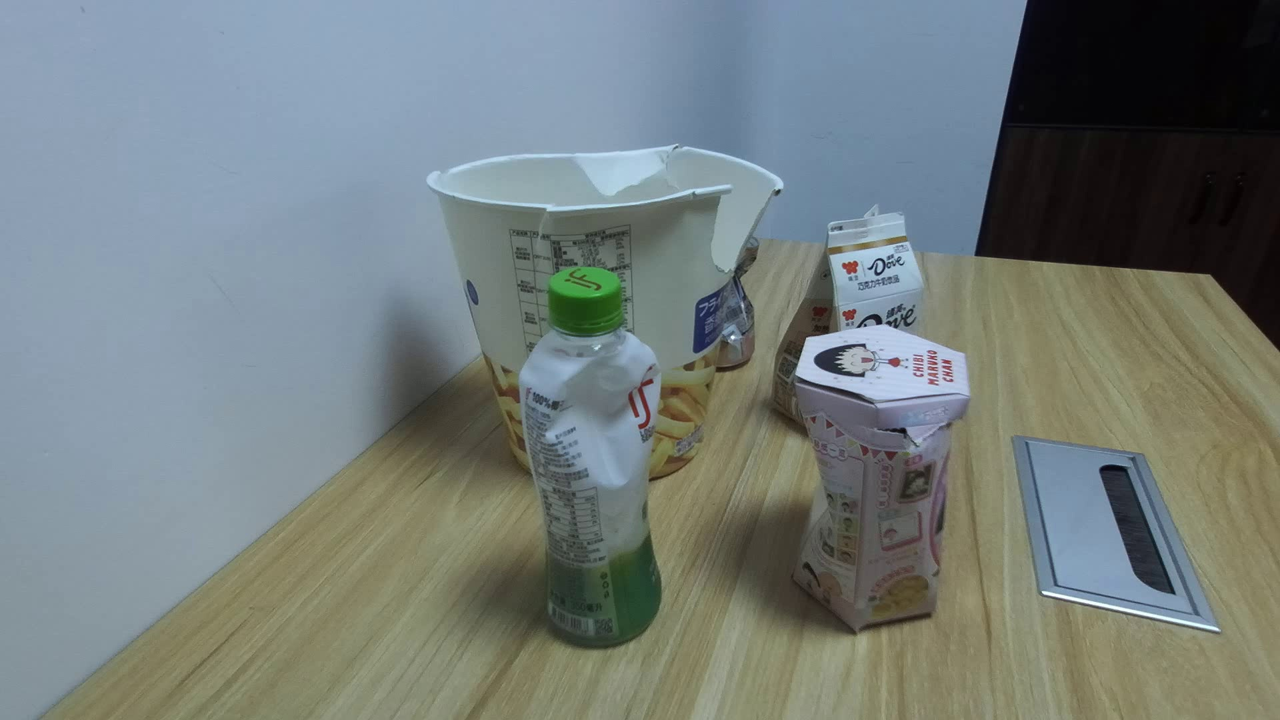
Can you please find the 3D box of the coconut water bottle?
[{"bbox_3d":[-0.021,0.048,0.340,0.069,0.187,0.069,-1,24,1],"label":"coconut water bottle"}]

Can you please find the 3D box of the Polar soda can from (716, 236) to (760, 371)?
[{"bbox_3d":[0.072,-0.052,0.613,0.070,0.114,0.074,-7,29,-22],"label":"Polar soda can"}]

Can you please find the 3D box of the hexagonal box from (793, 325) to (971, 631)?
[{"bbox_3d":[0.119,0.061,0.368,0.091,0.134,0.089,-17,29,-25],"label":"hexagonal box"}]

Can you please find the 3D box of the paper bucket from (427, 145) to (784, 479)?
[{"bbox_3d":[-0.023,-0.033,0.485,0.203,0.197,0.145,-10,30,-15],"label":"paper bucket"}]

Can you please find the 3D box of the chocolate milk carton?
[{"bbox_3d":[0.147,-0.028,0.509,0.084,0.155,0.072,-18,32,-28],"label":"chocolate milk carton"}]
